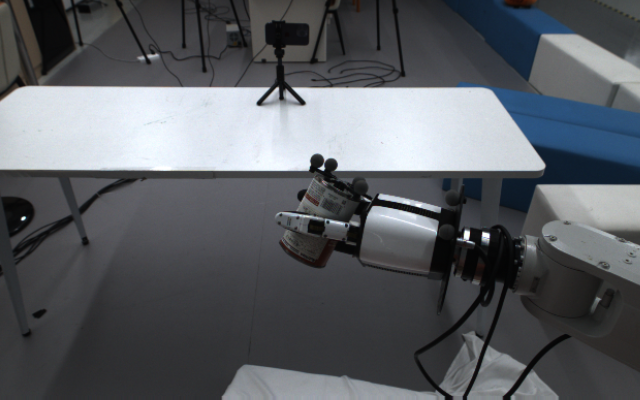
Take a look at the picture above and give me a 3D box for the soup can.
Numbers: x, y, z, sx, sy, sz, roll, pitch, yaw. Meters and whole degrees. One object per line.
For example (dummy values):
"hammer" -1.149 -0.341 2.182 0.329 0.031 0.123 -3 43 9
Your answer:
"soup can" 0.001 0.026 0.617 0.067 0.101 0.067 27 10 -5
